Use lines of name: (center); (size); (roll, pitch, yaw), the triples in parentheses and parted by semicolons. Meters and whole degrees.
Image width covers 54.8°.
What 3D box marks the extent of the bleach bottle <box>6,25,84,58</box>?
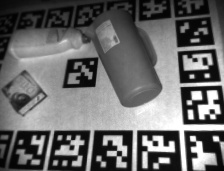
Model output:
bleach bottle: (-0.207, -0.157, 0.697); (0.250, 0.068, 0.102); (-6, 70, 8)

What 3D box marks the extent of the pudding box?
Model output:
pudding box: (-0.269, 0.009, 0.645); (0.090, 0.039, 0.112); (-41, 66, -13)

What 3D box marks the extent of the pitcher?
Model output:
pitcher: (0.040, -0.082, 0.591); (0.191, 0.133, 0.241); (-12, 65, -30)
